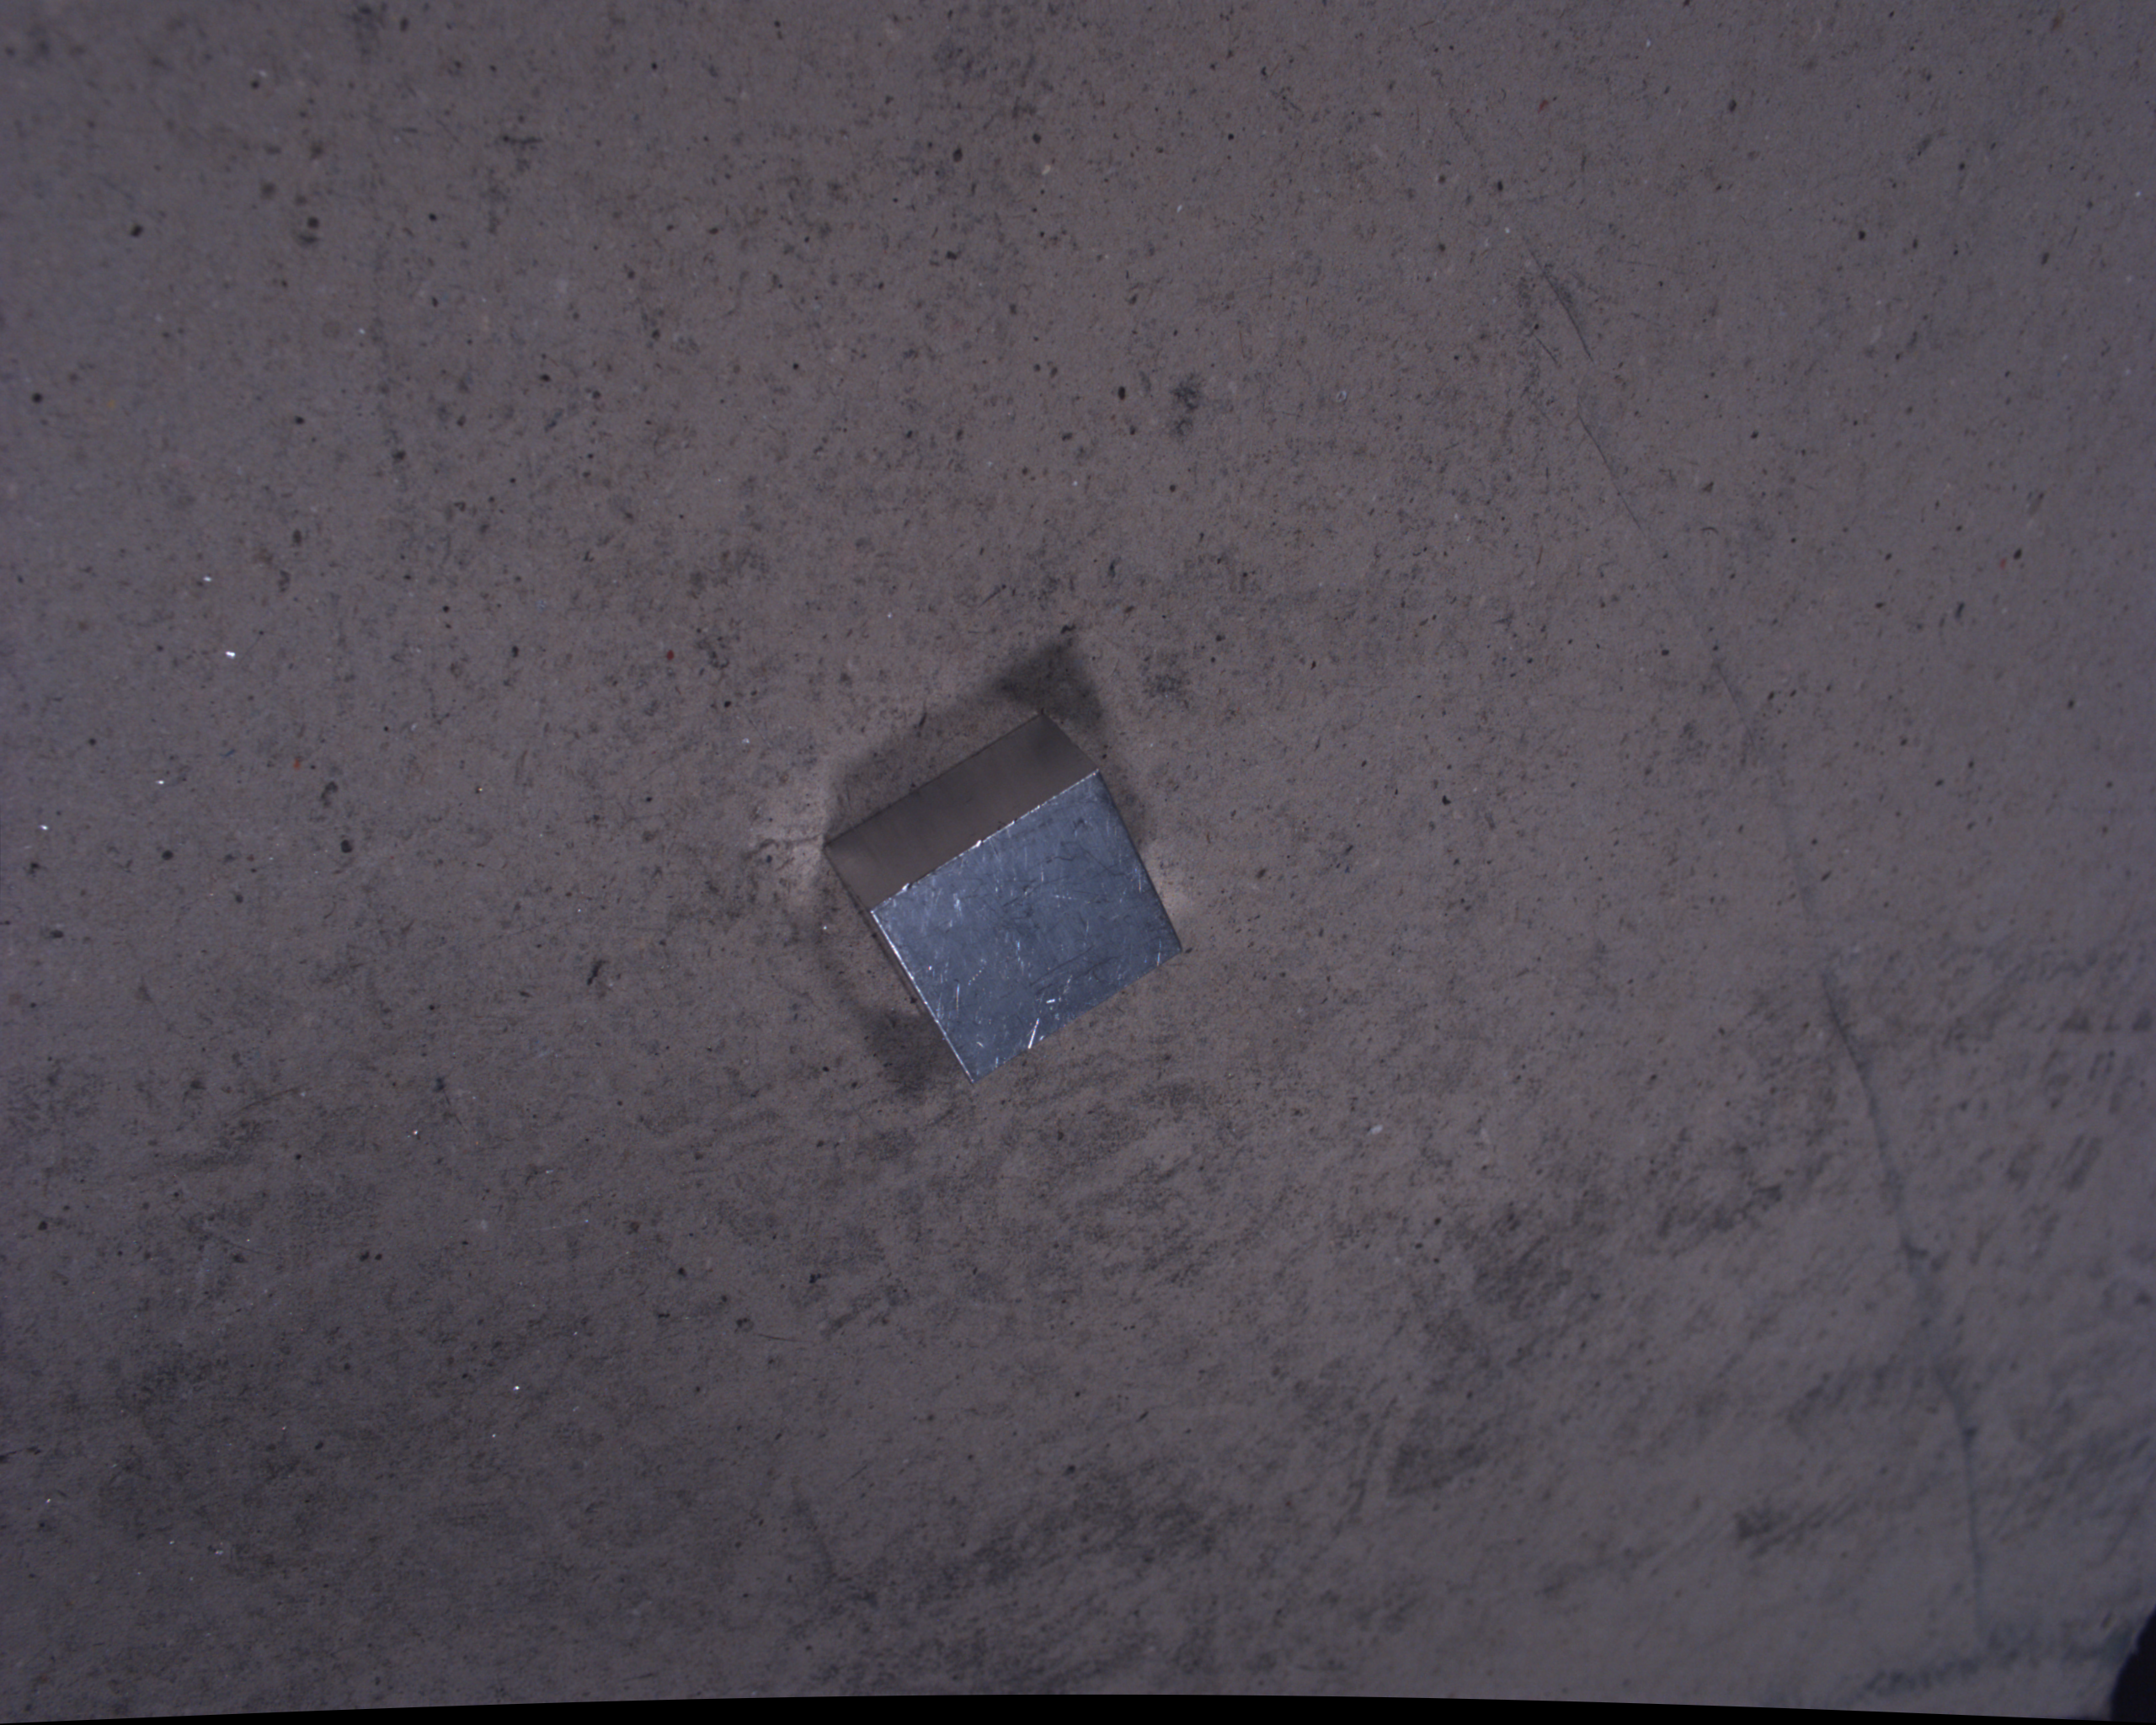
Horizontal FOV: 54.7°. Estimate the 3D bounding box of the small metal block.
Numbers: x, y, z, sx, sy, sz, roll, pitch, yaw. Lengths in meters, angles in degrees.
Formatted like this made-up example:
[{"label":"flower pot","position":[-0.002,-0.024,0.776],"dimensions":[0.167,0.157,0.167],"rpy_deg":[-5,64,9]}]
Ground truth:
[{"label":"small metal block","position":[-0.014,0.007,0.407],"dimensions":[0.050,0.025,0.050],"rpy_deg":[-32,129,-8]}]
